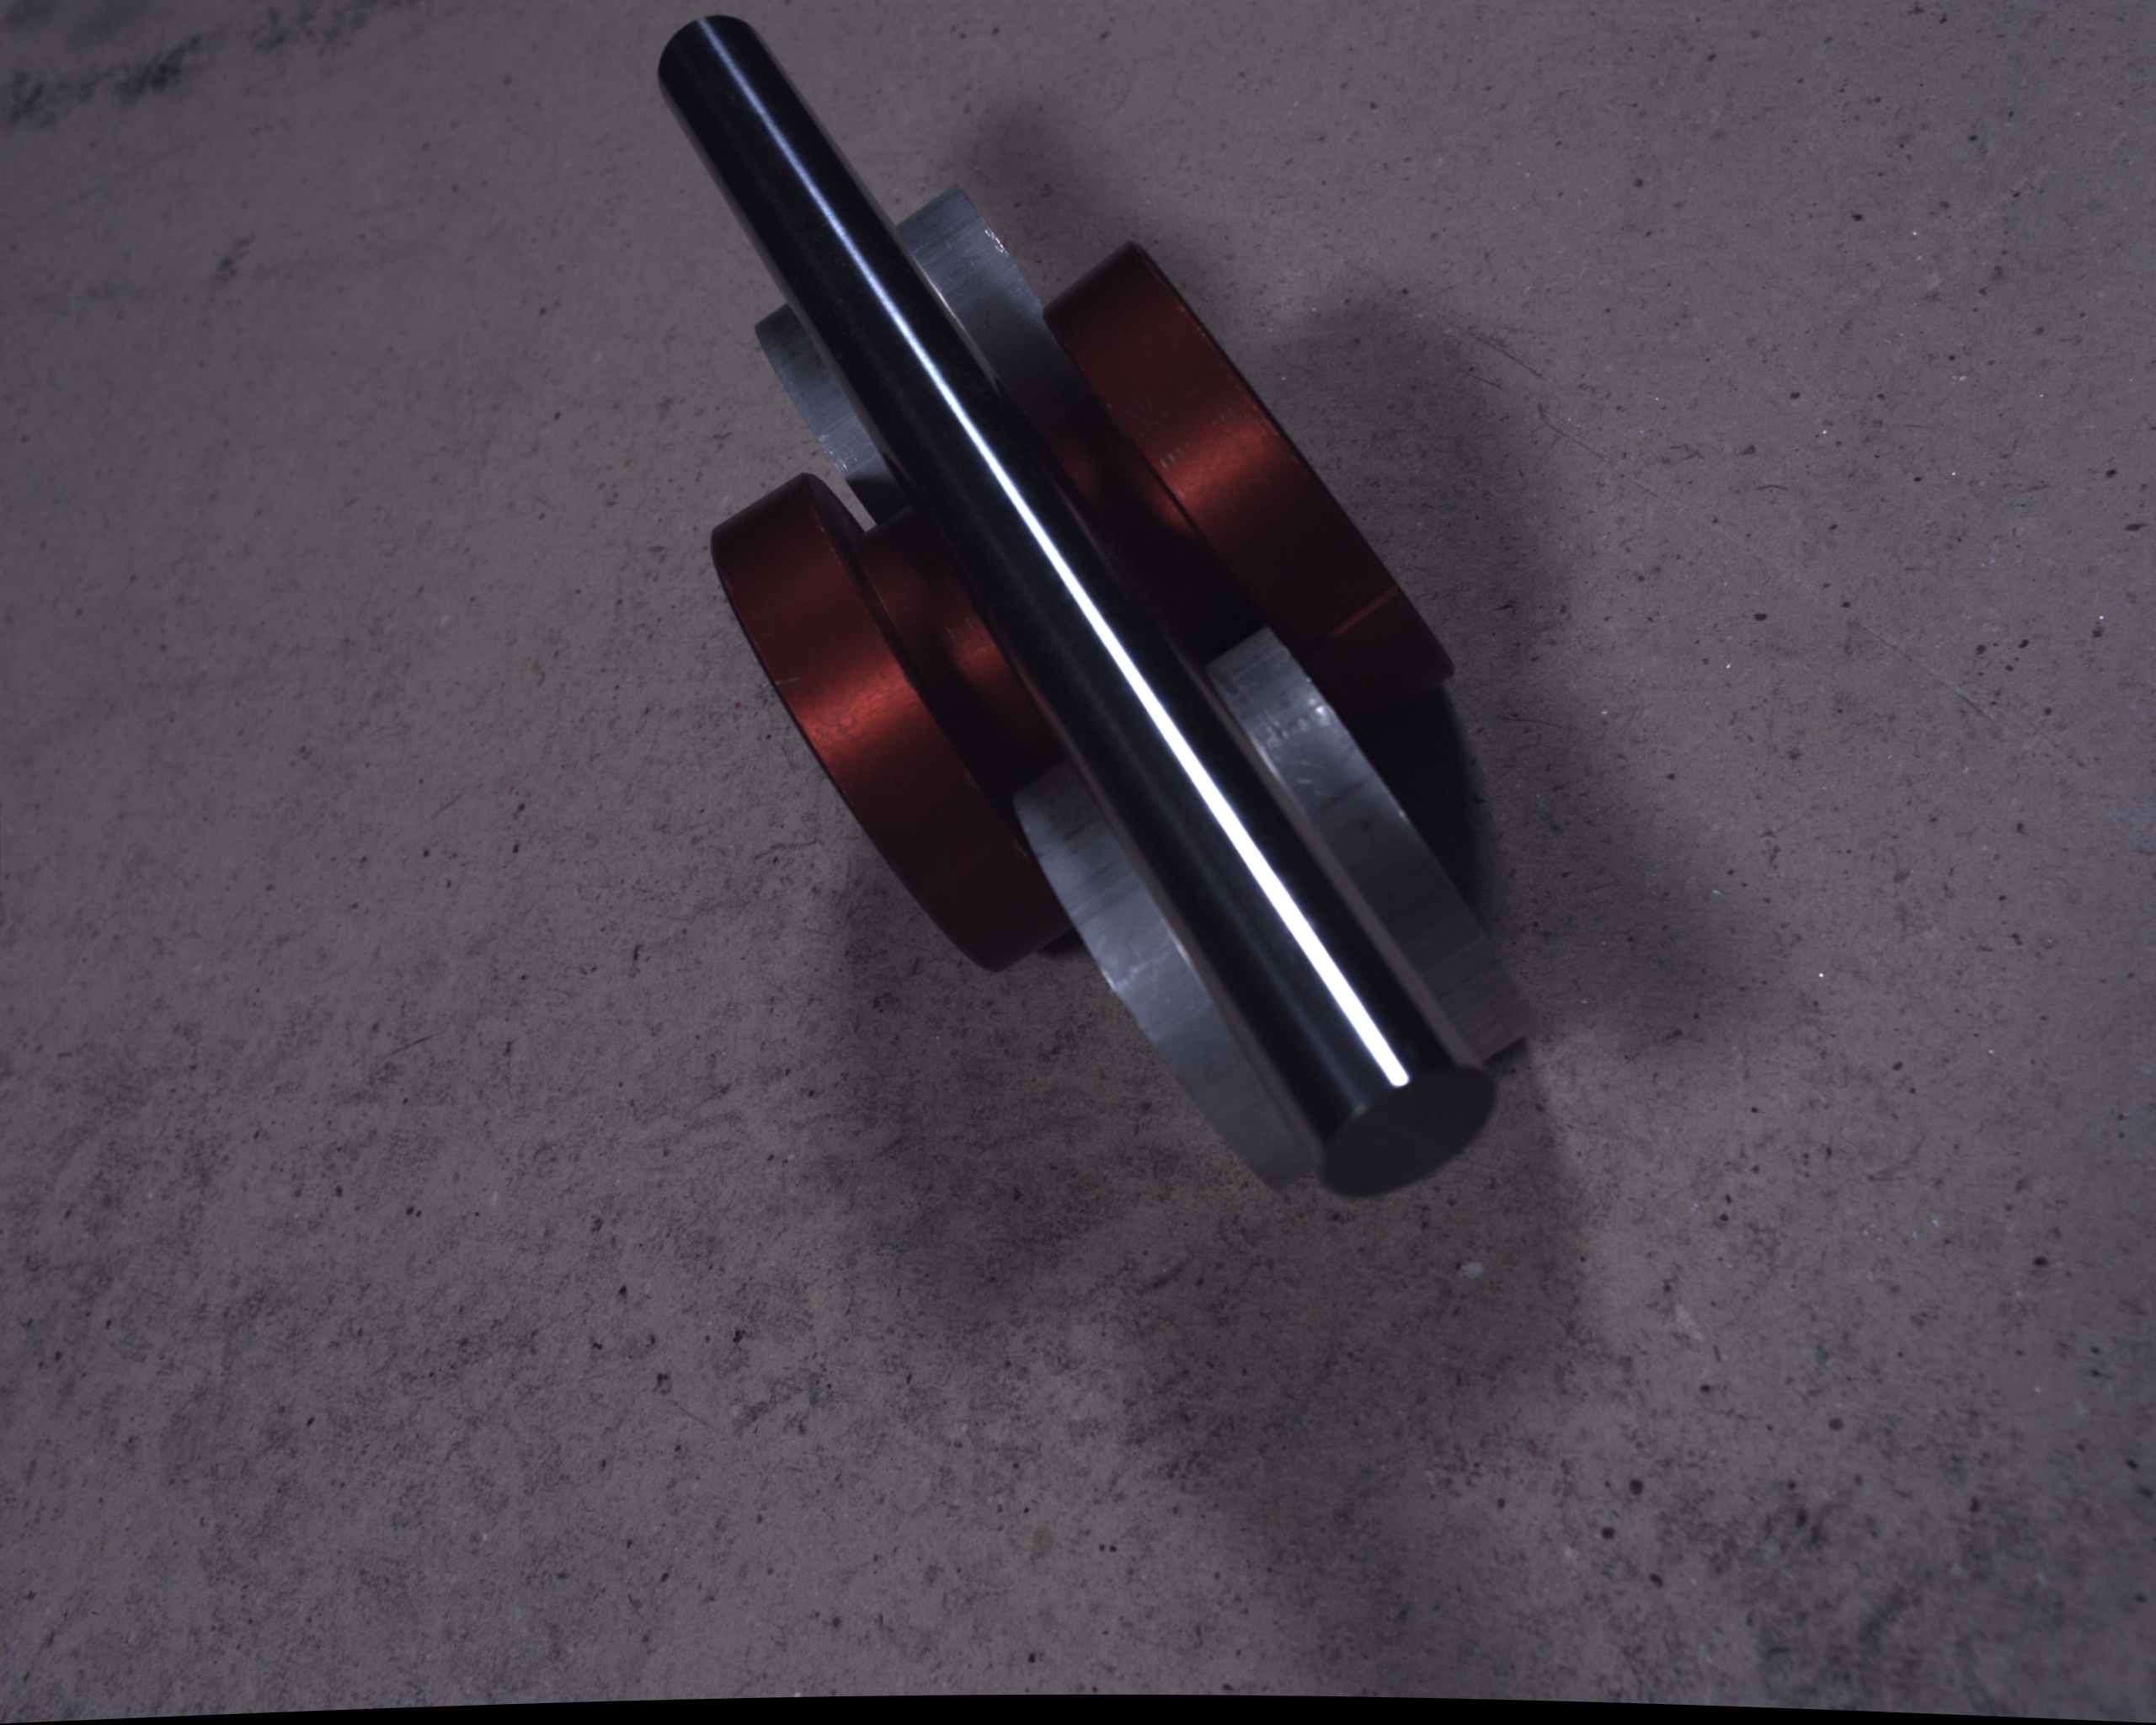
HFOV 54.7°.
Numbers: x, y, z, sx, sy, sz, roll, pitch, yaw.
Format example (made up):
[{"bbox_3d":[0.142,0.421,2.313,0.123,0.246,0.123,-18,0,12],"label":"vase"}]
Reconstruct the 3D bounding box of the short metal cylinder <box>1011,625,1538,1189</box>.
[{"bbox_3d":[0.032,0.007,0.347,0.050,0.080,0.080,-34,52,6],"label":"short metal cylinder"}]

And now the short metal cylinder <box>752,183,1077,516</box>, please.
[{"bbox_3d":[-0.024,-0.094,0.438,0.050,0.080,0.080,-34,52,6],"label":"short metal cylinder"}]

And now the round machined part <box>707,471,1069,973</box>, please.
[{"bbox_3d":[-0.024,-0.031,0.387,0.042,0.098,0.098,-32,52,3],"label":"round machined part"}]

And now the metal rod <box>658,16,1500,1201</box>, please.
[{"bbox_3d":[-0.018,-0.067,0.353,0.025,0.025,0.300,-34,52,5],"label":"metal rod"}]

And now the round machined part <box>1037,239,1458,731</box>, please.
[{"bbox_3d":[0.024,-0.062,0.383,0.042,0.098,0.098,-37,51,9],"label":"round machined part"}]
